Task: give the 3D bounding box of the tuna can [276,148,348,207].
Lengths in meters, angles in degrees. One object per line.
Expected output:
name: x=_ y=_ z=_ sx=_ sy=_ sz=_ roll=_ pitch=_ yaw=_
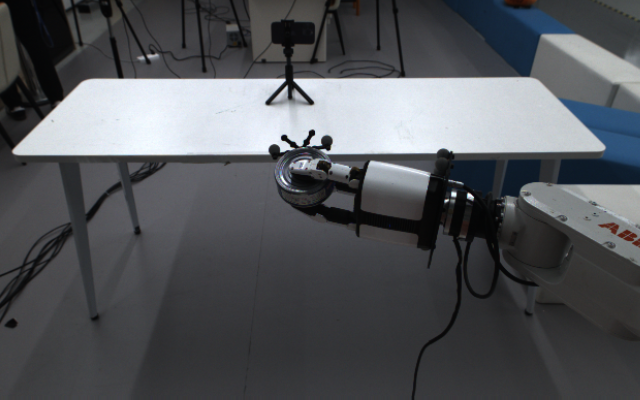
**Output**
tuna can: x=-0.018 y=-0.028 z=0.690 sx=0.085 sy=0.034 sz=0.085 roll=-3 pitch=58 yaw=5
